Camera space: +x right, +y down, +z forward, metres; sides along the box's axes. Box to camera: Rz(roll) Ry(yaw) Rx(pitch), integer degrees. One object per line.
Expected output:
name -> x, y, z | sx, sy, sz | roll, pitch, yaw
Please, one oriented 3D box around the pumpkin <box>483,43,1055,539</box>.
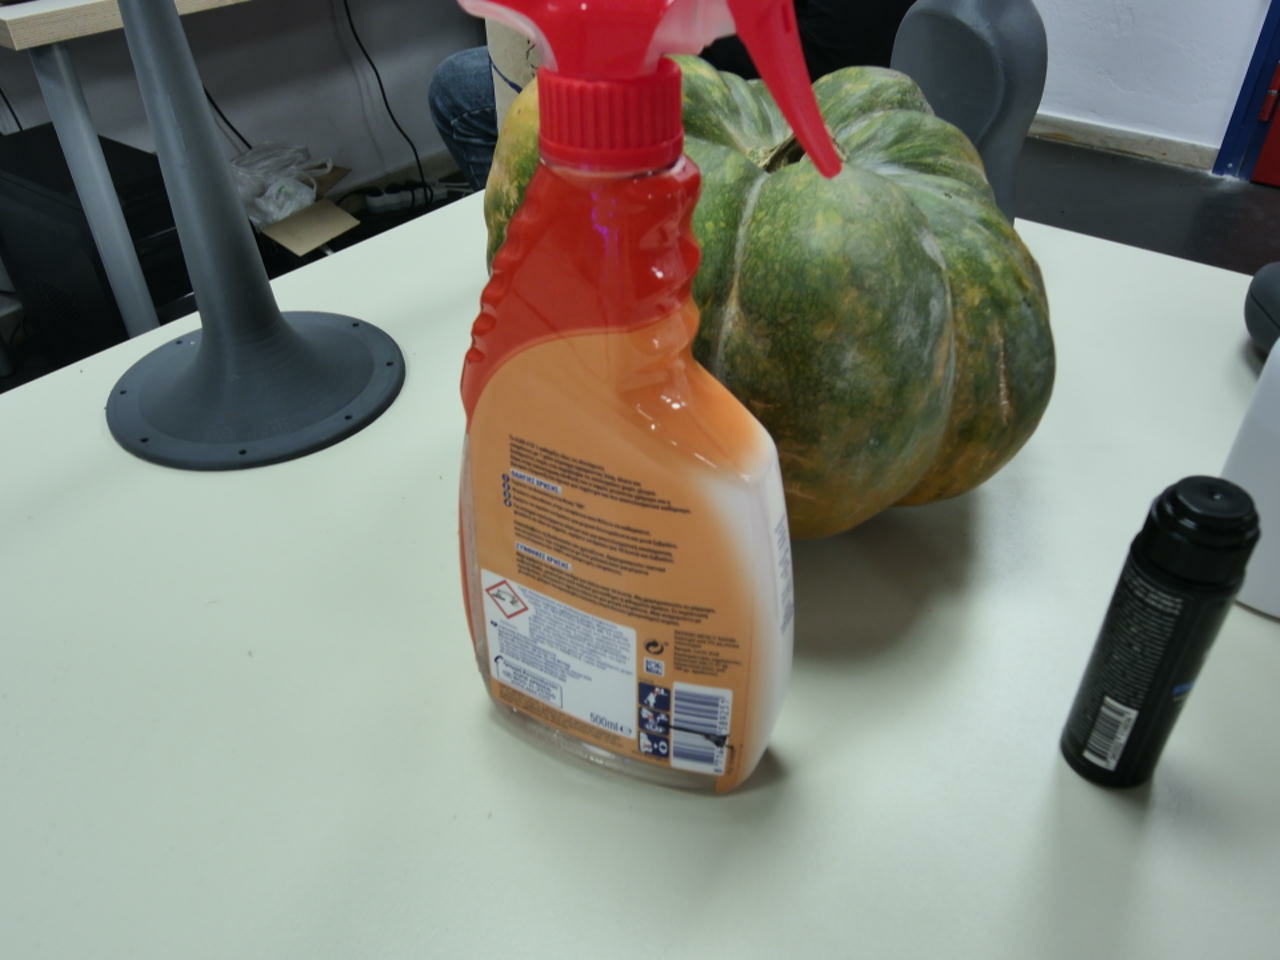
pumpkin -> 0.053, -0.088, 0.434 | 0.237, 0.173, 0.270 | -8, 37, -10
